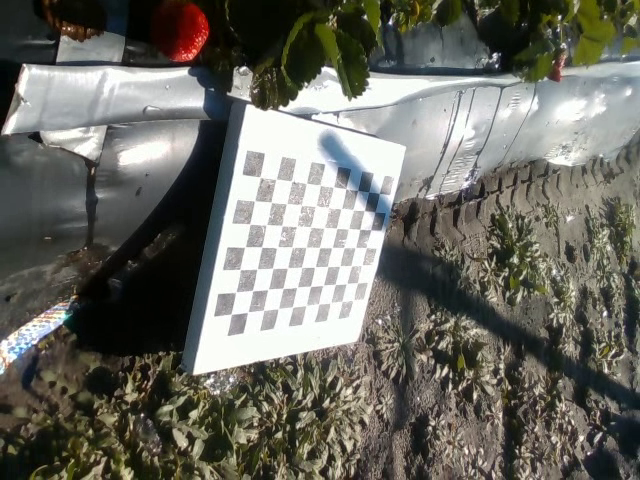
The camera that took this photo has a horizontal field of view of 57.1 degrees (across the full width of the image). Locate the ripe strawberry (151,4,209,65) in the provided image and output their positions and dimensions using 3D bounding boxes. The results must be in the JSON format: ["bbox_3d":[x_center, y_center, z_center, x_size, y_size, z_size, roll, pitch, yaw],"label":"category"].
[{"bbox_3d":[-0.118,-0.171,0.498,0.057,0.065,0.062,-21,-38,13],"label":"ripe strawberry"}]
